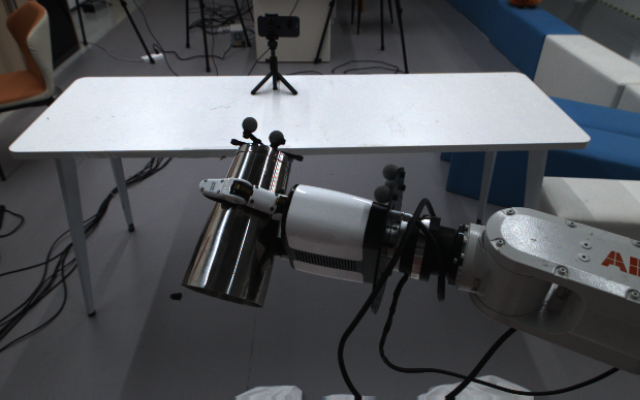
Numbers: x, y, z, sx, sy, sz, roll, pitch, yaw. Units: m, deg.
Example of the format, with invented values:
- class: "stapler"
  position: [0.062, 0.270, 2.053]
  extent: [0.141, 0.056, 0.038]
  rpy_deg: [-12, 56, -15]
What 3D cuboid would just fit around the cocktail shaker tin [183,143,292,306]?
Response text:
- class: "cocktail shaker tin"
  position: [-0.084, 0.027, 0.546]
  extent: [0.093, 0.093, 0.170]
  rpy_deg: [11, 71, 12]
